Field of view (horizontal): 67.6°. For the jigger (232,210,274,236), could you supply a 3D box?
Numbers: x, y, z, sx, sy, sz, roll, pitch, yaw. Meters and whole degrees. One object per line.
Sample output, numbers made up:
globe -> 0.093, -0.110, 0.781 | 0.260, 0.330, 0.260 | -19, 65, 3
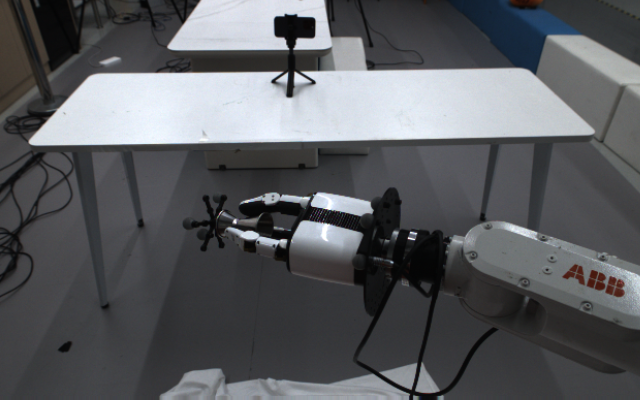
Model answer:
jigger -> -0.096, 0.030, 0.665 | 0.071, 0.043, 0.043 | 4, 33, 25
